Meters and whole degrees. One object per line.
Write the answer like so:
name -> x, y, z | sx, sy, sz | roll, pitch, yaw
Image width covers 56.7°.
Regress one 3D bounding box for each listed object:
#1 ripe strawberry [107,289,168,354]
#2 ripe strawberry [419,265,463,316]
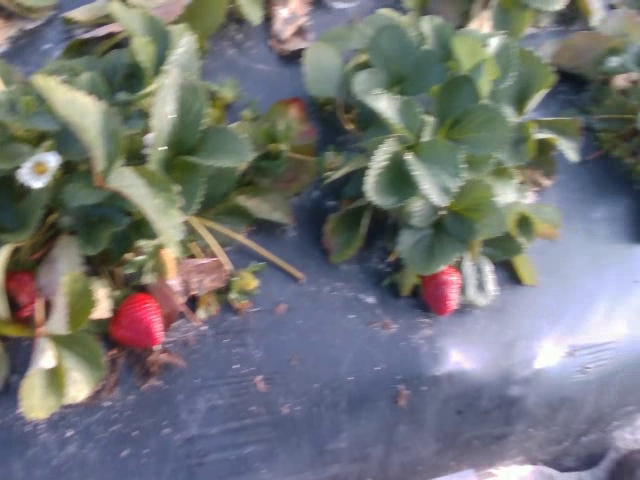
ripe strawberry -> -0.092, 0.045, 0.297 | 0.030, 0.032, 0.026 | 41, -16, 14
ripe strawberry -> 0.075, 0.034, 0.347 | 0.029, 0.036, 0.021 | -6, -13, -10
